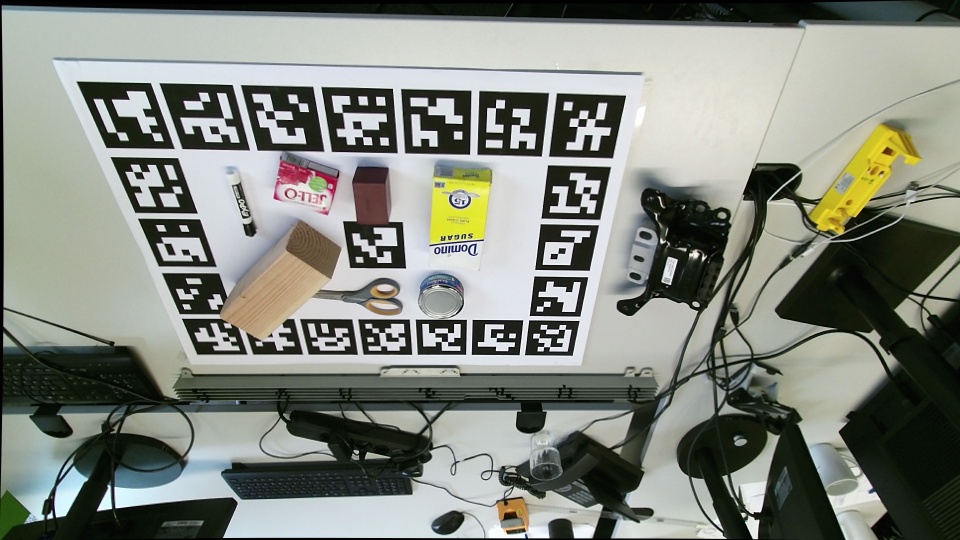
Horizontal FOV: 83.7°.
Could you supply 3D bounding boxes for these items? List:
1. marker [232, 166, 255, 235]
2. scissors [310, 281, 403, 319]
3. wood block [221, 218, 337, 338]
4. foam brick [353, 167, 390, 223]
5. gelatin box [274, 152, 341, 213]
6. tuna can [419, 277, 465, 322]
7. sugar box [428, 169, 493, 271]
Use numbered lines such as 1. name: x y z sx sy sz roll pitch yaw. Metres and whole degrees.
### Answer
1. marker: -0.390 -0.112 0.886 0.020 0.019 0.121 2 123 -5
2. scissors: -0.246 0.051 1.014 0.204 0.016 0.088 6 125 -10
3. wood block: -0.359 0.016 0.942 0.206 0.090 0.090 -38 120 23
4. foam brick: -0.174 -0.122 0.867 0.053 0.051 0.078 3 125 -5
5. gelatin box: -0.278 -0.140 0.867 0.090 0.030 0.073 17 122 -15
6. tuna can: -0.072 0.055 1.010 0.086 0.033 0.086 -1 125 -2
7. sugar box: -0.036 -0.082 0.913 0.093 0.045 0.176 5 125 -6
